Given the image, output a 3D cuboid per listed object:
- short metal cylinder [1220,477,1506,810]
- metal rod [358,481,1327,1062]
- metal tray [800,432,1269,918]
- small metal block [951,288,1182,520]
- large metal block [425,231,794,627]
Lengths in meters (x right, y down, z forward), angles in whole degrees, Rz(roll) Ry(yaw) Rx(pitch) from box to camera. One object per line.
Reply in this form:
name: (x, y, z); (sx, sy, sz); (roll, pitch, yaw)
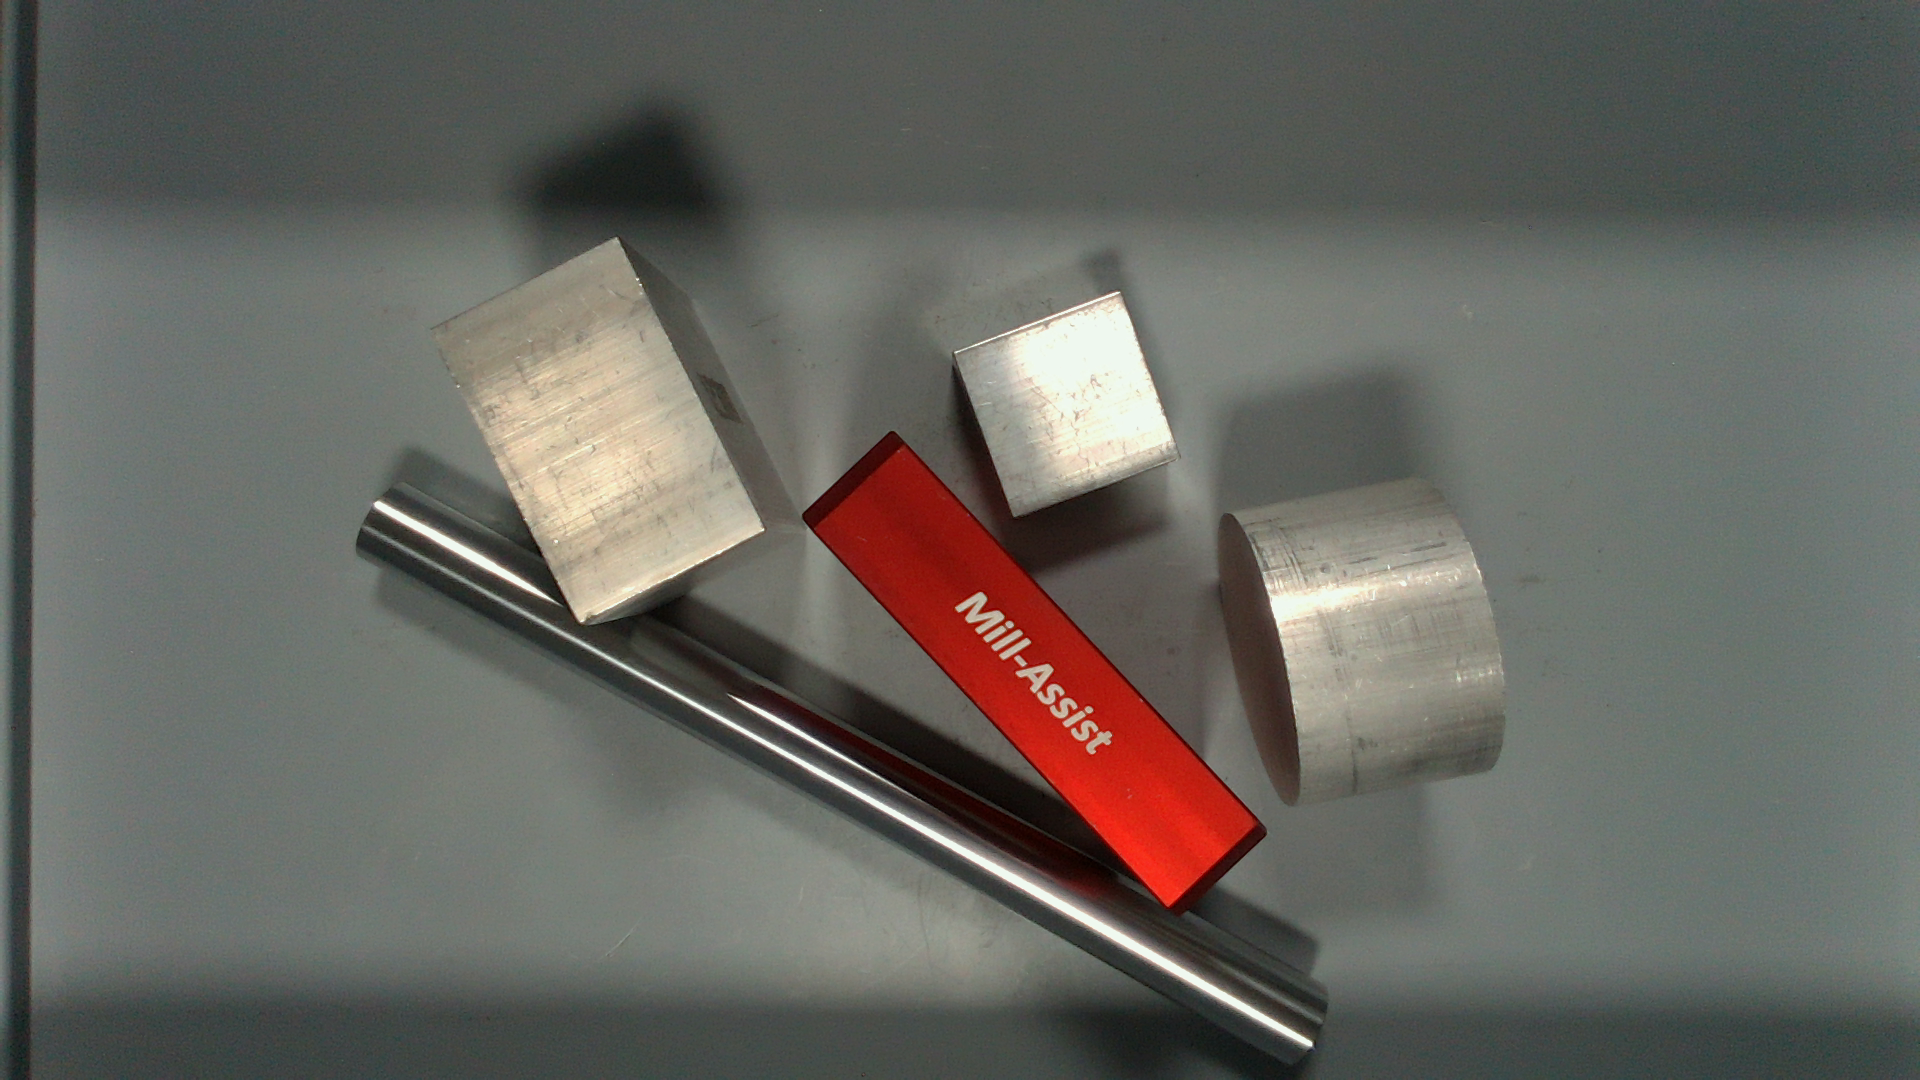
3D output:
short metal cylinder: (0.104, 0.027, 0.367); (0.050, 0.080, 0.080); (-12, 90, 1)
metal rod: (-0.033, 0.066, 0.395); (0.300, 0.025, 0.025); (29, 90, 0)
metal tray: (0.017, 0.032, 0.361); (0.030, 0.090, 0.130); (-43, 90, 0)
small metal block: (0.030, -0.038, 0.393); (0.050, 0.025, 0.050); (-20, 90, 0)
large metal block: (-0.086, -0.026, 0.366); (0.050, 0.080, 0.080); (-26, 90, 0)
